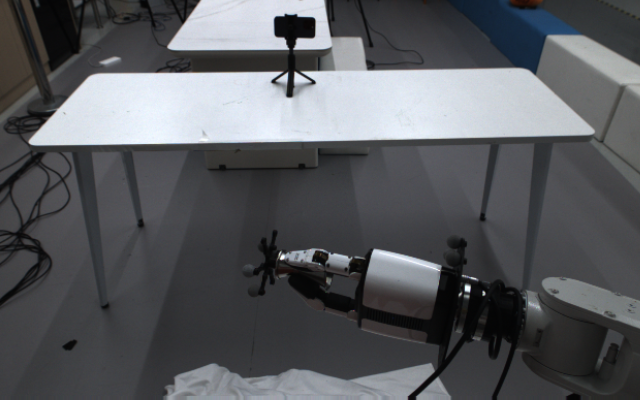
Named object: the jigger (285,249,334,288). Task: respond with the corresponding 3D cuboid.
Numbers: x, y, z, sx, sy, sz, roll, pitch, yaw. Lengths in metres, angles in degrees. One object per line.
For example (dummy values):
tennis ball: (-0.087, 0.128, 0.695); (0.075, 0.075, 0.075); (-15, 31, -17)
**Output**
jigger: (-0.013, 0.084, 0.623); (0.071, 0.043, 0.043); (8, 35, 14)
